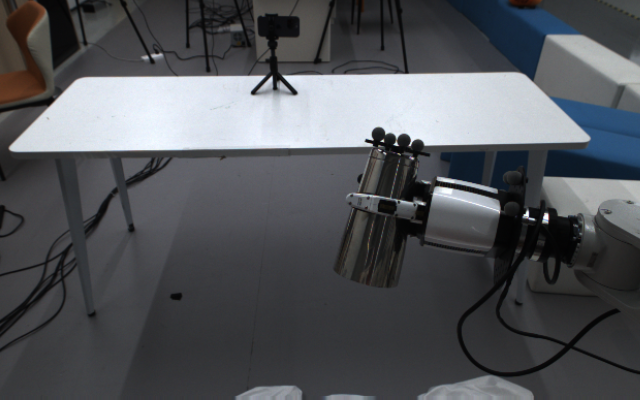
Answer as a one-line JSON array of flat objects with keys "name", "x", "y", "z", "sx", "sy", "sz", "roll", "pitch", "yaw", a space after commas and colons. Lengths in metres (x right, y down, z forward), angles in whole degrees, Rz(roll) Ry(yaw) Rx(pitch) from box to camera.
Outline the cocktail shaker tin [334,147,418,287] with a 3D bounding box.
[{"name": "cocktail shaker tin", "x": 0.083, "y": 0.021, "z": 0.651, "sx": 0.093, "sy": 0.170, "sz": 0.093, "roll": 13, "pitch": 7, "yaw": -2}]
